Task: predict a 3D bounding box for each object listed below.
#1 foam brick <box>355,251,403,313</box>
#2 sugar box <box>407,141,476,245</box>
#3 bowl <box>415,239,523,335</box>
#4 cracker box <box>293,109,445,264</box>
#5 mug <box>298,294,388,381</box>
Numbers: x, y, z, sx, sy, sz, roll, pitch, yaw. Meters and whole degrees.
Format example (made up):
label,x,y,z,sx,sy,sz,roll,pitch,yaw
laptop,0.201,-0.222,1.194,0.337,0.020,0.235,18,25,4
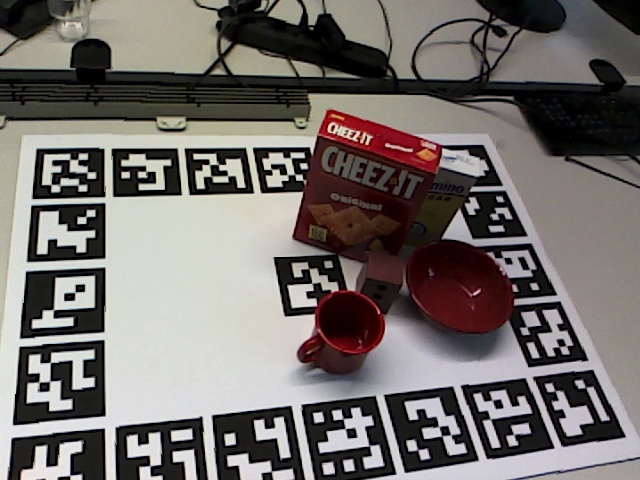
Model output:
label,x,y,z,sx,sy,sz,roll,pitch,yaw
foam brick,0.085,0.062,0.895,0.052,0.078,0.051,9,50,-5
sugar box,0.163,-0.067,0.943,0.093,0.176,0.045,14,51,-2
bowl,0.209,0.079,0.905,0.161,0.055,0.162,6,52,-8
cracker box,0.063,-0.061,0.894,0.164,0.213,0.072,21,49,3
mug,0.026,0.134,0.812,0.117,0.081,0.094,-12,48,-19
